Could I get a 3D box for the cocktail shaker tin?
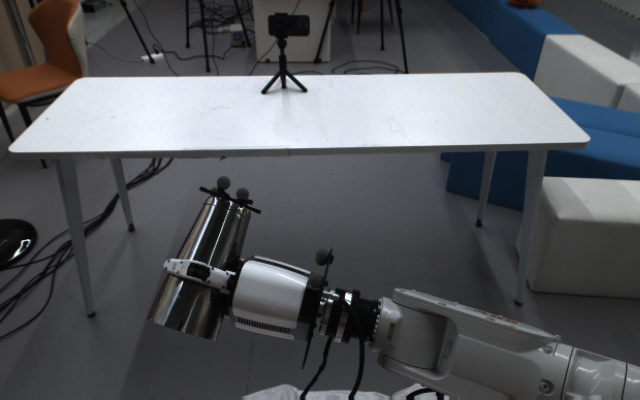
[{"bbox_3d":[-0.151,0.087,0.633,0.093,0.093,0.170,14,74,17],"label":"cocktail shaker tin"}]
